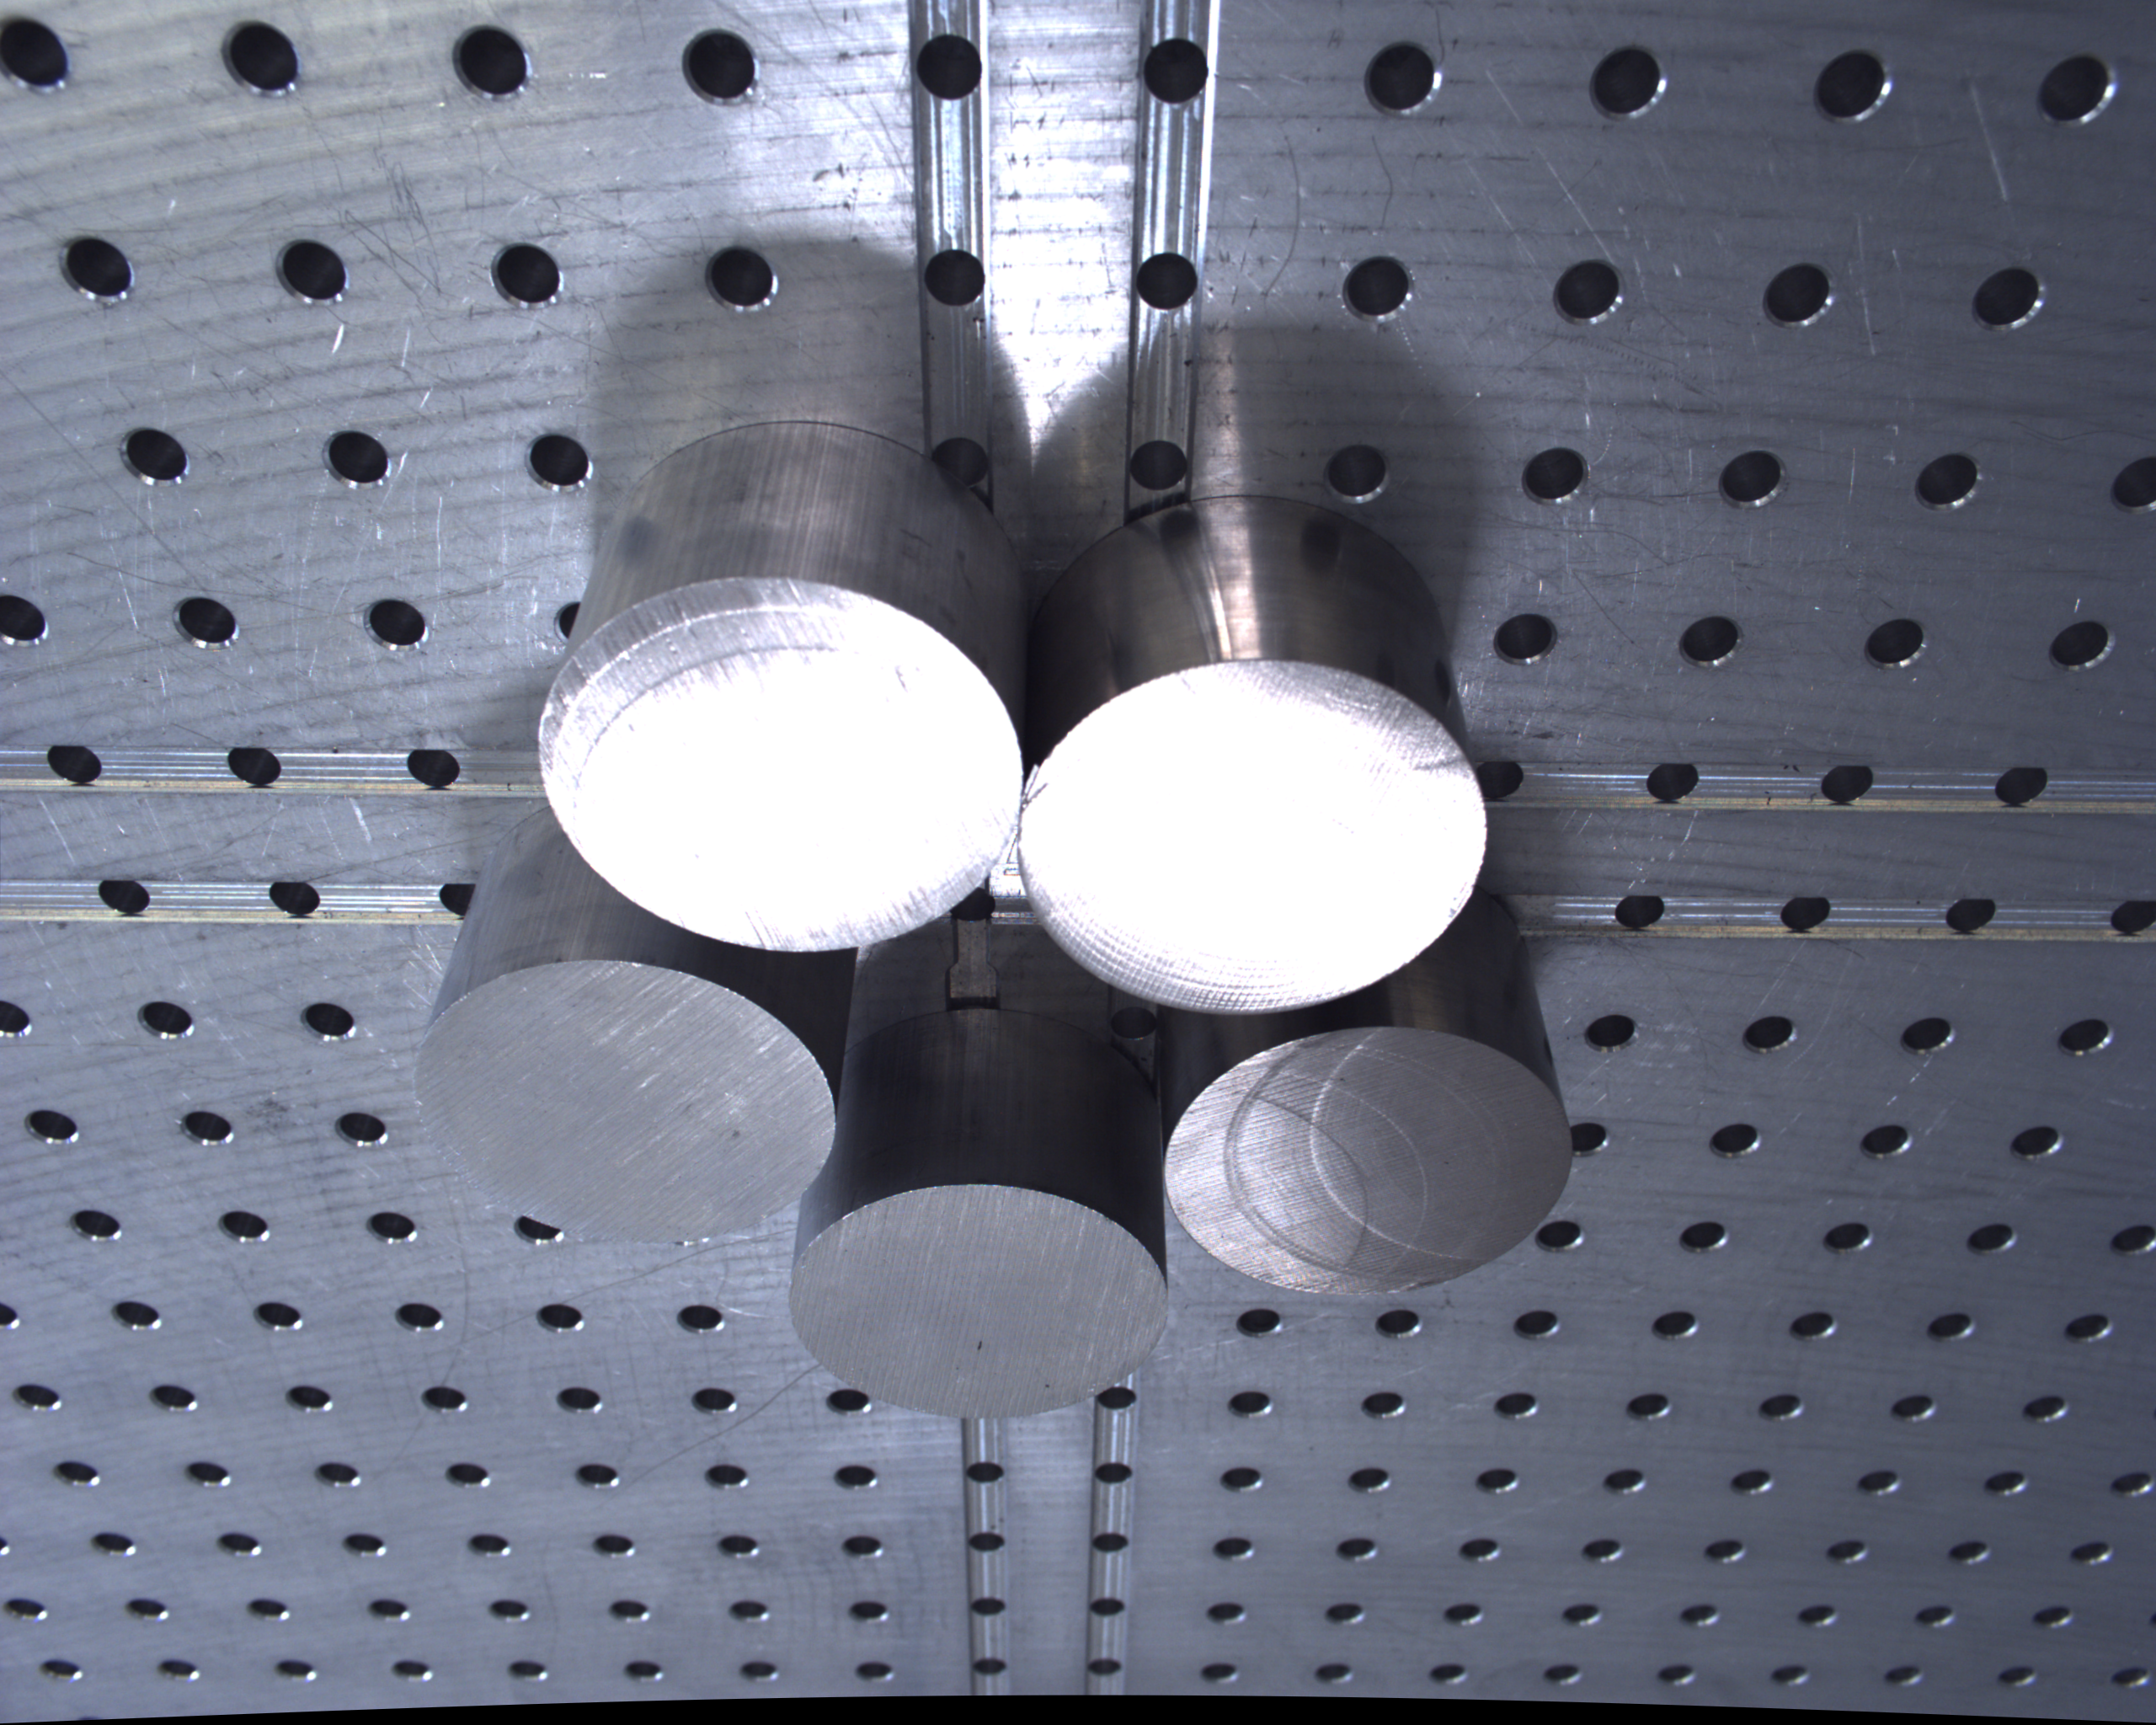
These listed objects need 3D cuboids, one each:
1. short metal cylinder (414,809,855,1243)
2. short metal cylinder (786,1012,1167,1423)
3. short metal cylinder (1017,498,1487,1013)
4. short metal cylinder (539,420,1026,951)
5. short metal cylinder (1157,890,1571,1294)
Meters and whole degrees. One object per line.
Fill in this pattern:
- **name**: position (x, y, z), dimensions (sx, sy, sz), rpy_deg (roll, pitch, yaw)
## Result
- **short metal cylinder**: position (-0.087, 0.032, 0.421), dimensions (0.081, 0.050, 0.079), rpy_deg (0, 131, 0)
- **short metal cylinder**: position (-0.021, 0.079, 0.461), dimensions (0.081, 0.050, 0.079), rpy_deg (0, 130, 0)
- **short metal cylinder**: position (0.030, -0.019, 0.378), dimensions (0.081, 0.050, 0.079), rpy_deg (0, 131, 0)
- **short metal cylinder**: position (-0.049, -0.030, 0.368), dimensions (0.081, 0.050, 0.079), rpy_deg (-1, 130, 0)
- **short metal cylinder**: position (0.057, 0.045, 0.433), dimensions (0.081, 0.050, 0.079), rpy_deg (0, 132, 0)
